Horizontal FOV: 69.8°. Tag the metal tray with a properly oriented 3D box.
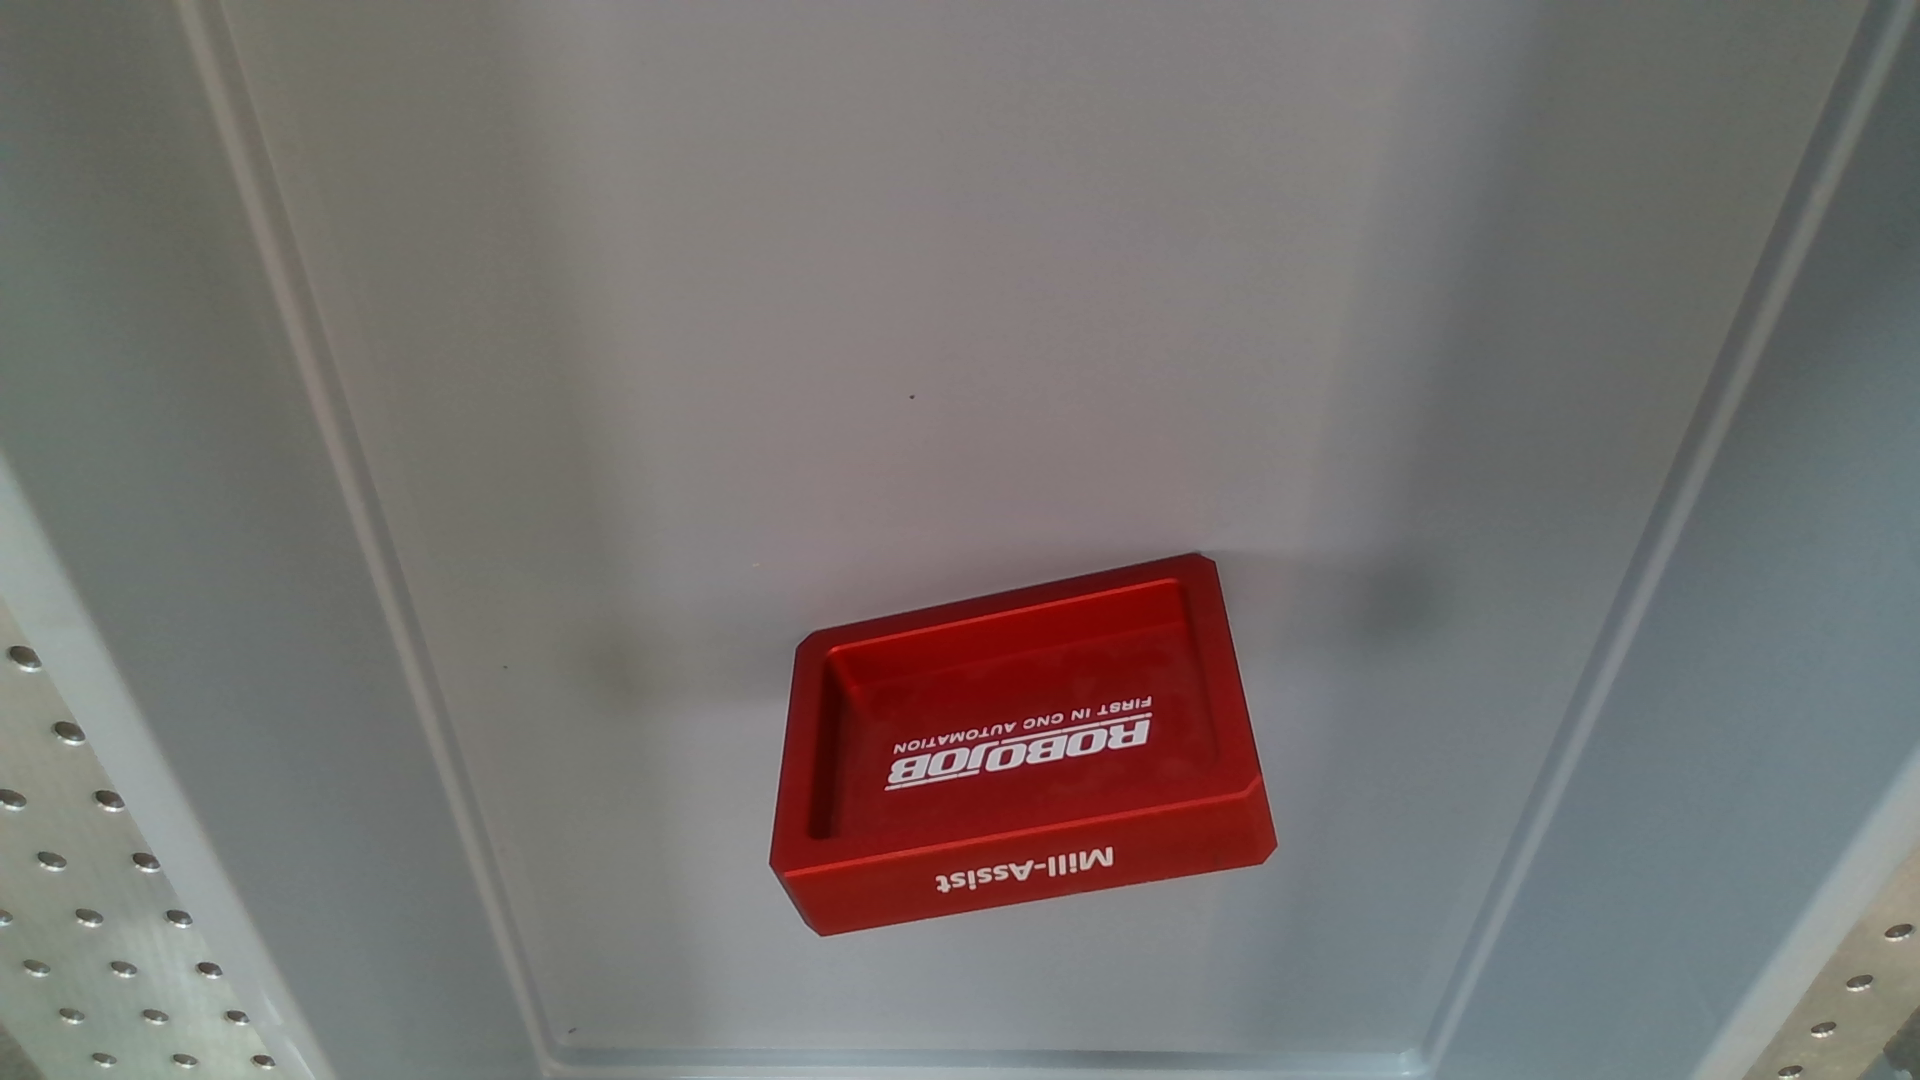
[{"bbox_3d":[0.016,0.056,0.390,0.130,0.090,0.030,-12,130,10],"label":"metal tray"}]
